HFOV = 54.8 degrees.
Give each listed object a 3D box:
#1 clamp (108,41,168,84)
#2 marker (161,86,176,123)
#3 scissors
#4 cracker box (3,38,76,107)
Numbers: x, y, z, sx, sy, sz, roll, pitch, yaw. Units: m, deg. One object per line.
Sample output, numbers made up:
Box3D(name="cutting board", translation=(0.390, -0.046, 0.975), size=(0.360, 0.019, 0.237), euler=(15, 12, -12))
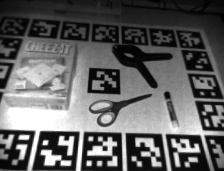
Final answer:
Box3D(name="clamp", translation=(0.075, -0.103, 0.757), size=(0.201, 0.037, 0.166), euler=(28, 55, 12))
Box3D(name="marker", translation=(0.169, 0.053, 0.650), size=(0.020, 0.020, 0.120), euler=(0, 54, -6))
Box3D(name="scissors", translation=(0.027, 0.044, 0.640), size=(0.204, 0.016, 0.087), euler=(-21, 59, -23))
Box3D(name="cracker box", translation=(-0.203, -0.046, 0.643), size=(0.164, 0.072, 0.212), euler=(4, 54, -4))
